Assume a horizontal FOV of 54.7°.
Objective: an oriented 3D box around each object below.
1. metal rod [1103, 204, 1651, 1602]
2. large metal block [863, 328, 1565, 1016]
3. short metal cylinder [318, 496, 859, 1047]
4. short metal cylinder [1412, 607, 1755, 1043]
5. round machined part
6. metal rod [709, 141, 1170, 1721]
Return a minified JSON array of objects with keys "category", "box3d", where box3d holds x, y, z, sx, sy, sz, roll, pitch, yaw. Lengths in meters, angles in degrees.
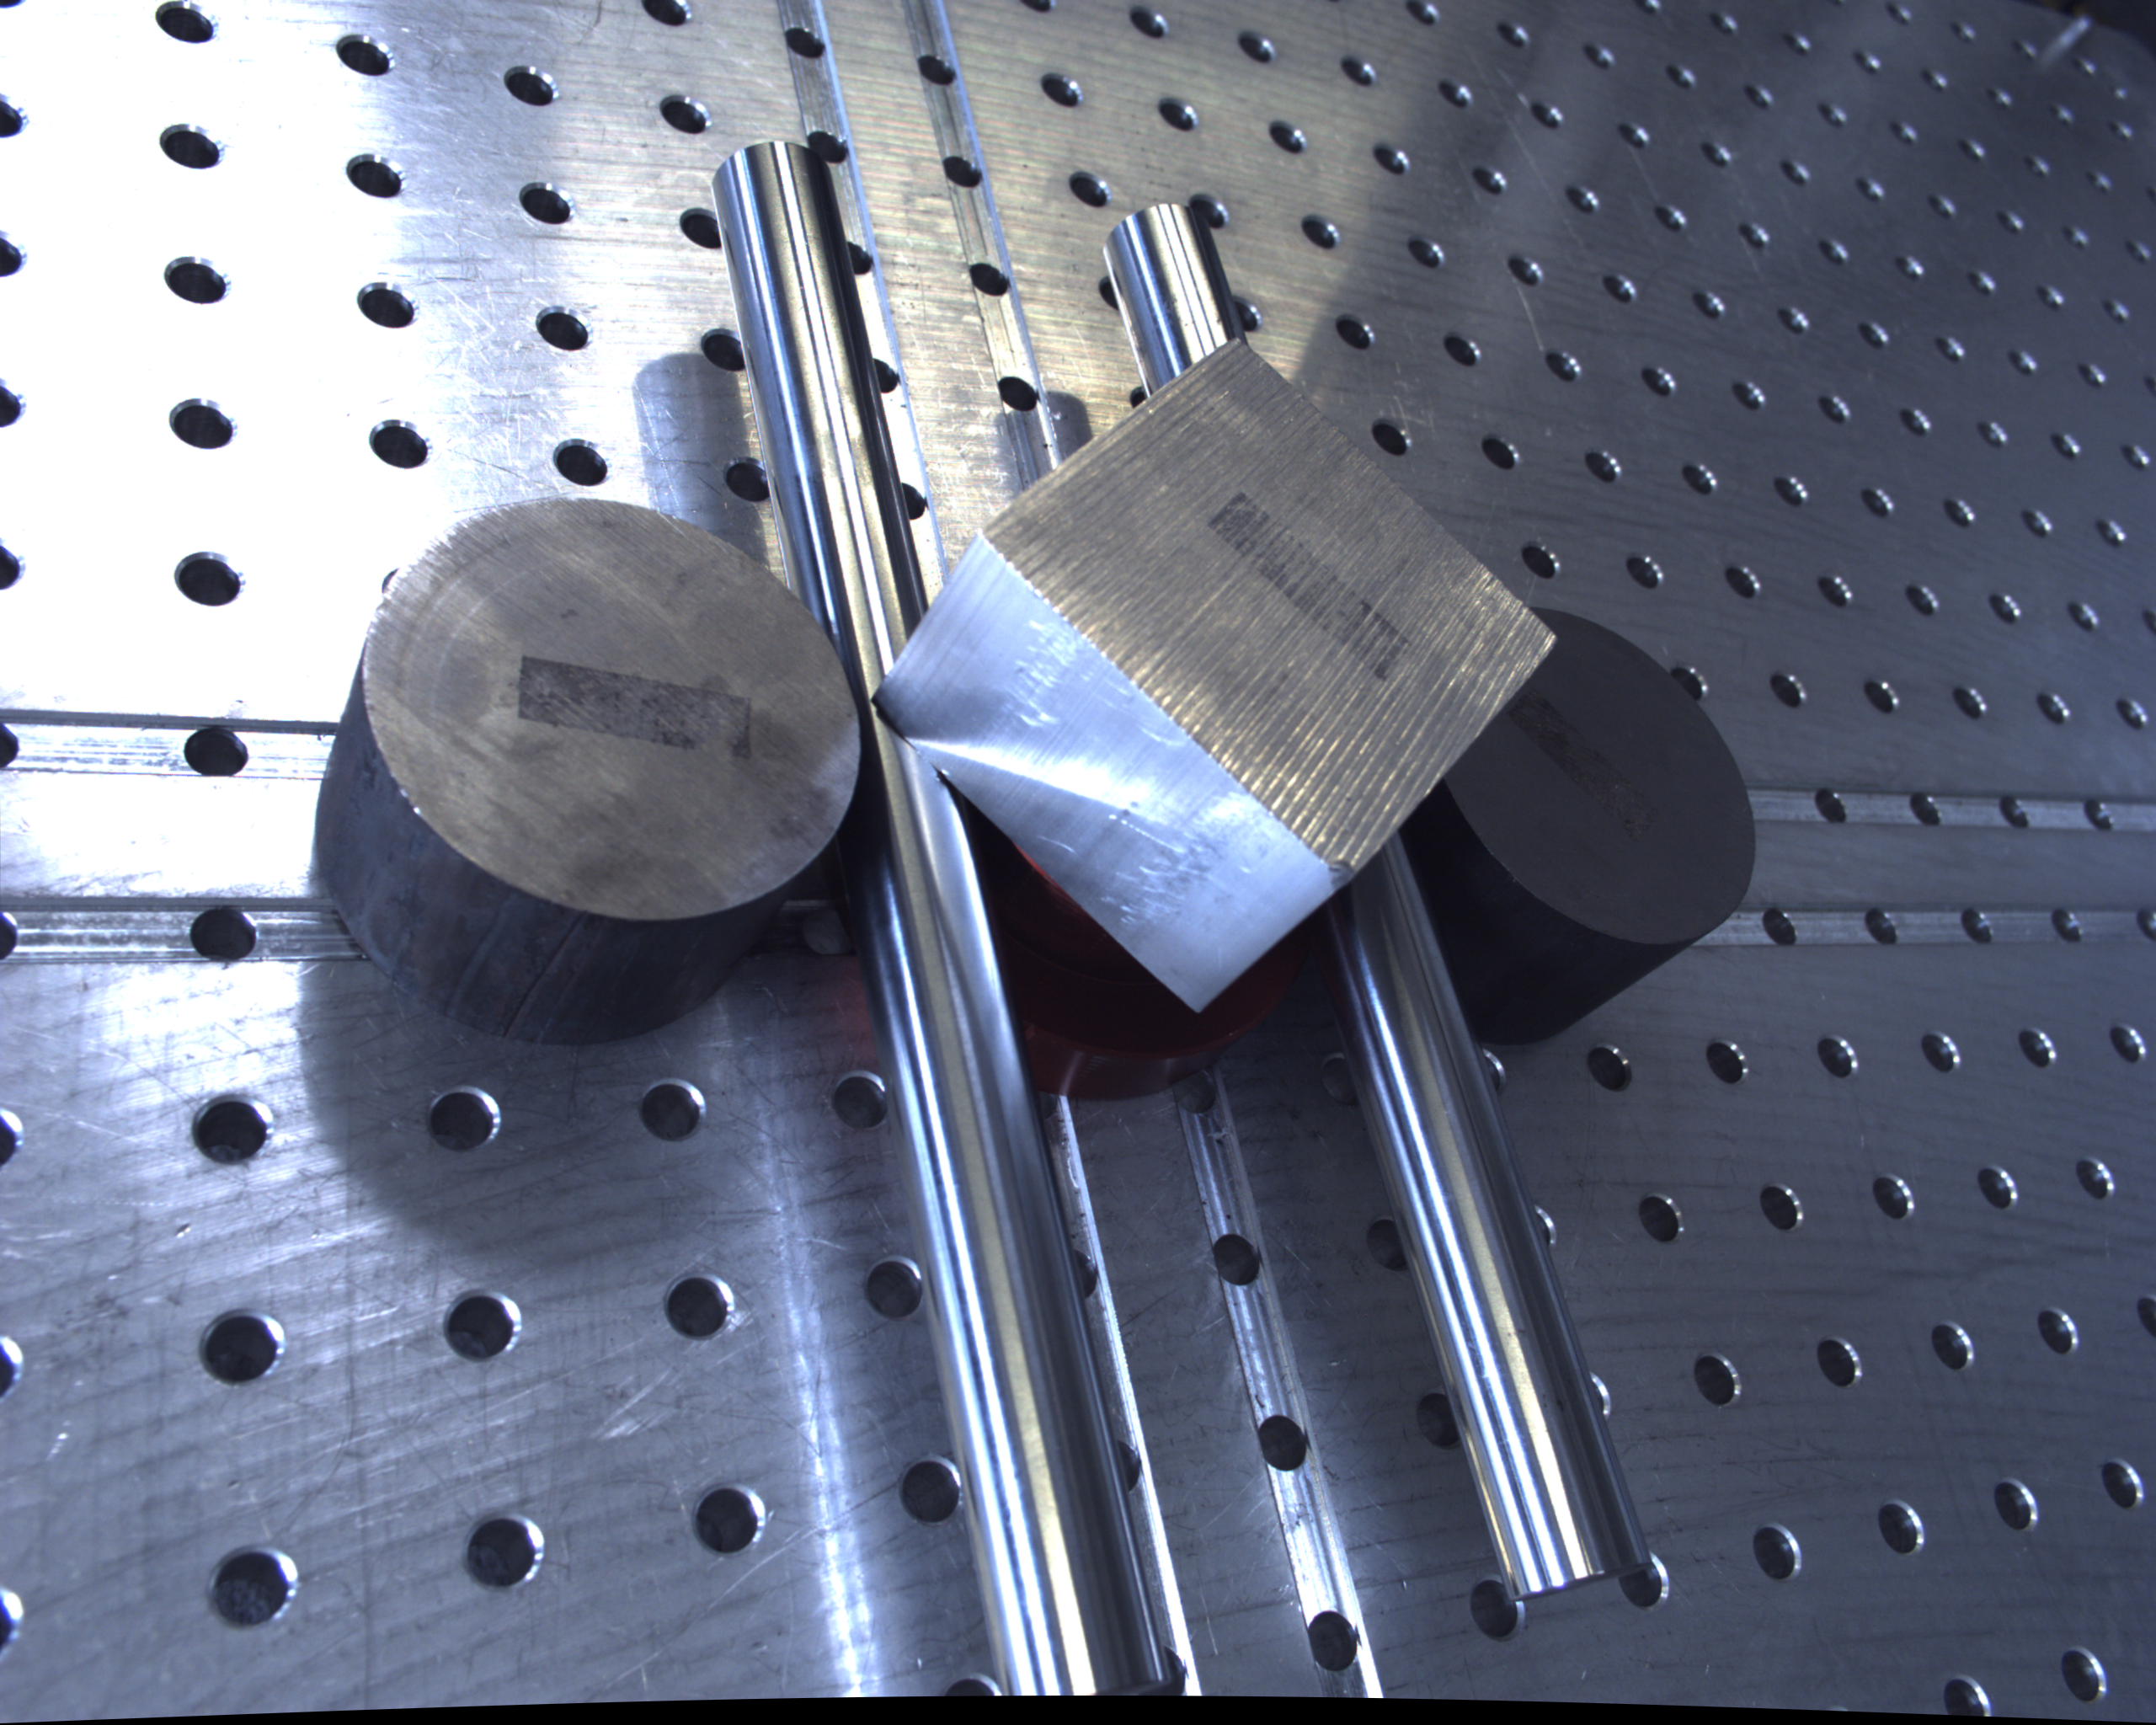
[{"category":"metal rod","box3d":[0.051,-0.010,0.415,0.025,0.025,0.299,0,62,-28]},{"category":"large metal block","box3d":[0.025,-0.035,0.366,0.080,0.050,0.080,44,51,2]},{"category":"short metal cylinder","box3d":[-0.084,-0.015,0.356,0.081,0.050,0.080,14,56,-21]},{"category":"short metal cylinder","box3d":[0.096,-0.008,0.448,0.081,0.050,0.080,14,56,-21]},{"category":"round machined part","box3d":[0.003,-0.007,0.404,0.099,0.042,0.098,14,56,-21]},{"category":"metal rod","box3d":[-0.031,-0.009,0.369,0.025,0.025,0.299,0,62,-28]}]
